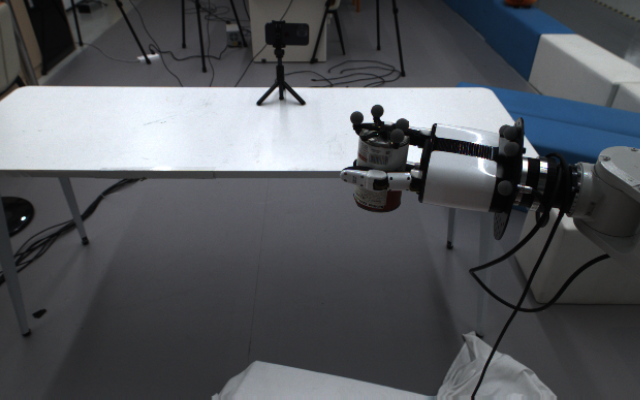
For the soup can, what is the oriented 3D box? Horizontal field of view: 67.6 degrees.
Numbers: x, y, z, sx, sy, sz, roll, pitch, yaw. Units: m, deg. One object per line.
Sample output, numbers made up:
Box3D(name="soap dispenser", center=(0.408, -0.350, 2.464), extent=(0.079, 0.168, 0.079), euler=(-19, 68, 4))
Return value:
Box3D(name="soup can", center=(0.084, -0.043, 0.658), extent=(0.067, 0.101, 0.067), euler=(2, 32, -1))
